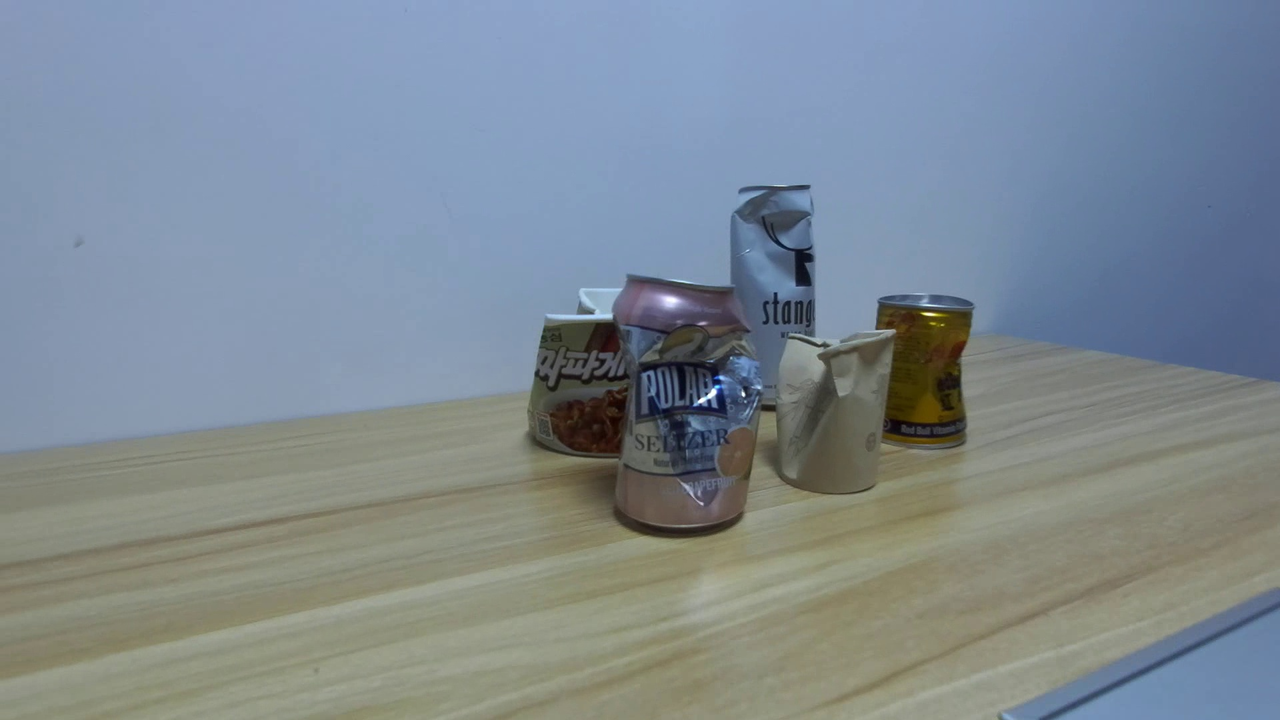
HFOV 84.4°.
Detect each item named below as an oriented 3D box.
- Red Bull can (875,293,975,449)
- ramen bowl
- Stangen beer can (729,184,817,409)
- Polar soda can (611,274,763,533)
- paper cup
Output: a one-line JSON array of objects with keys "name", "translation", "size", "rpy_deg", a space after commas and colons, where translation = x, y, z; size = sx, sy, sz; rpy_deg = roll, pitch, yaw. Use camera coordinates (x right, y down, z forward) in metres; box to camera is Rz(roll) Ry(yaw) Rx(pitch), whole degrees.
[{"name": "Red Bull can", "translation": [0.183, 0.006, 0.466], "size": [0.072, 0.092, 0.072], "rpy_deg": [1, 13, 0]}, {"name": "ramen bowl", "translation": [-0.023, 0.006, 0.474], "size": [0.111, 0.093, 0.128], "rpy_deg": [4, 14, 23]}, {"name": "Stangen beer can", "translation": [0.103, -0.049, 0.541], "size": [0.066, 0.166, 0.066], "rpy_deg": [0, 14, 14]}, {"name": "Polar soda can", "translation": [0.022, 0.020, 0.351], "size": [0.071, 0.121, 0.066], "rpy_deg": [-1, 5, -11]}, {"name": "paper cup", "translation": [0.104, 0.027, 0.396], "size": [0.058, 0.083, 0.067], "rpy_deg": [5, 11, 35]}]
